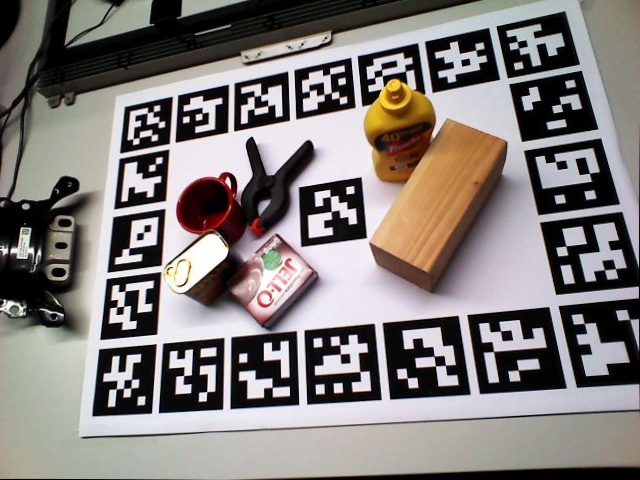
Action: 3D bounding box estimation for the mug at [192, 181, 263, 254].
[{"bbox_3d":[-0.136,-0.036,0.814,0.094,0.081,0.116,14,77,19],"label":"mug"}]

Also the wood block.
[{"bbox_3d":[0.190,-0.032,0.697,0.090,0.091,0.205,30,79,25],"label":"wood block"}]

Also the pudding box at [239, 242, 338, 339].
[{"bbox_3d":[-0.045,0.073,0.749,0.114,0.038,0.090,-45,66,-5],"label":"pudding box"}]

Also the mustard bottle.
[{"bbox_3d":[0.131,-0.141,0.692,0.096,0.191,0.058,-13,68,11],"label":"mustard bottle"}]

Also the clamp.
[{"bbox_3d":[-0.057,-0.082,0.814,0.122,0.036,0.164,11,76,17],"label":"clamp"}]

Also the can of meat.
[{"bbox_3d":[-0.148,0.057,0.753,0.102,0.084,0.058,-36,67,0],"label":"can of meat"}]
